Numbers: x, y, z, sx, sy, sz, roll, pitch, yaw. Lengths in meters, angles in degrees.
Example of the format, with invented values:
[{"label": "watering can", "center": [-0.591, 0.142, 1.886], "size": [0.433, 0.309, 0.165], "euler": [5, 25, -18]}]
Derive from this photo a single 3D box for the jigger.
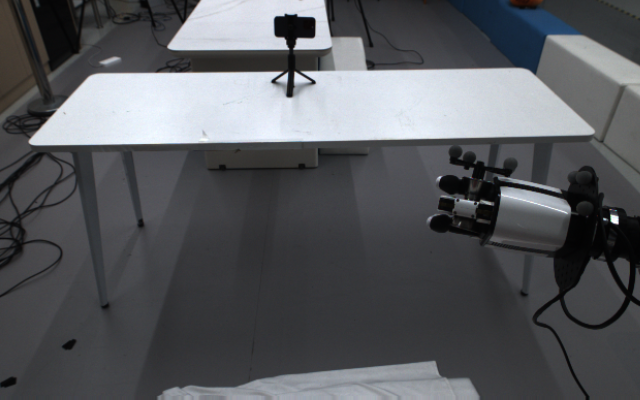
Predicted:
[{"label": "jigger", "center": [0.204, 0.005, 0.647], "size": [0.043, 0.071, 0.043], "euler": [14, 1, 0]}]
